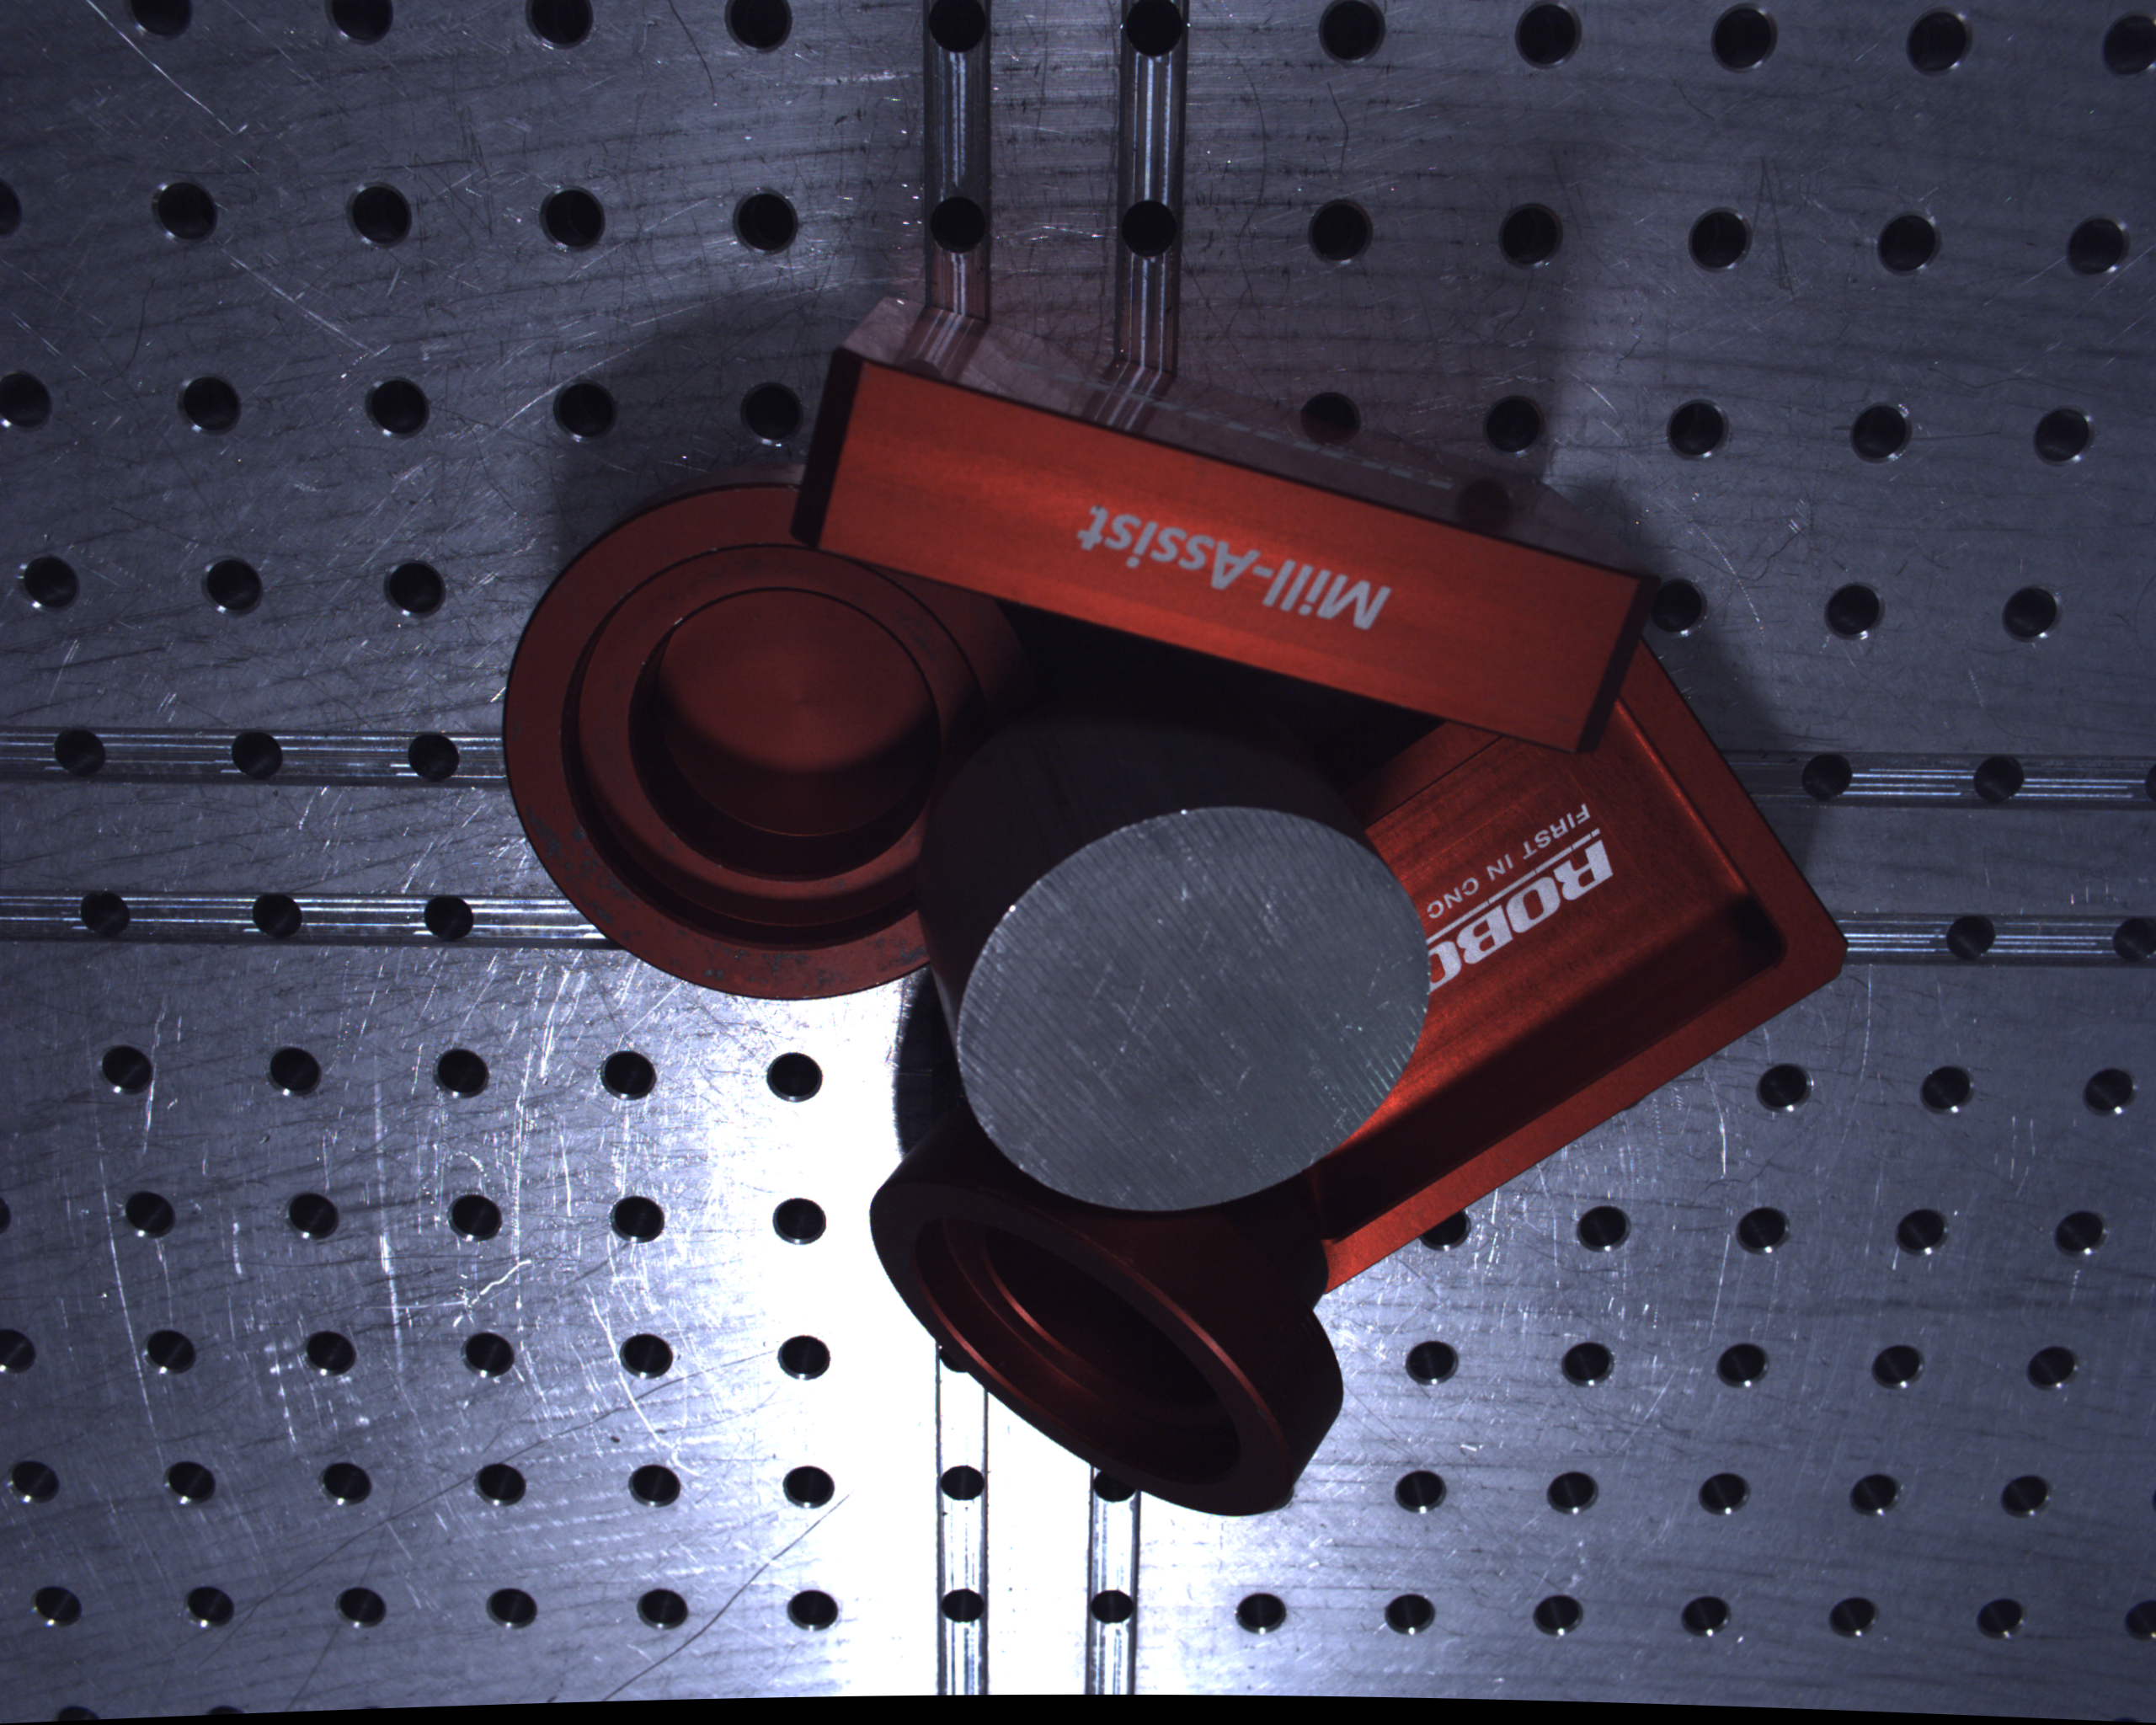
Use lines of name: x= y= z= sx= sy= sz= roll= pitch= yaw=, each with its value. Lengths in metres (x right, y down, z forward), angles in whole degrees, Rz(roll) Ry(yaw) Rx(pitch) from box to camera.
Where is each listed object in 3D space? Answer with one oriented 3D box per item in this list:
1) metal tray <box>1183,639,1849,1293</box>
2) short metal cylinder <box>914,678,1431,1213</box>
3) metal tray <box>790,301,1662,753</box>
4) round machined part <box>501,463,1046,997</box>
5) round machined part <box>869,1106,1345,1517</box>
metal tray: x=0.072 y=0.017 z=0.417 sx=0.130 sy=0.030 sz=0.090 roll=-35 pitch=107 yaw=11
short metal cylinder: x=0.015 y=0.014 z=0.366 sx=0.081 sy=0.050 sz=0.079 roll=-6 pitch=120 yaw=-11
metal tray: x=0.023 y=-0.061 z=0.356 sx=0.131 sy=0.090 sz=0.030 roll=14 pitch=110 yaw=-6
round machined part: x=-0.054 y=-0.027 z=0.394 sx=0.099 sy=0.042 sz=0.097 roll=0 pitch=110 yaw=-1
round machined part: x=0.010 y=0.082 z=0.416 sx=0.098 sy=0.042 sz=0.097 roll=26 pitch=145 yaw=20
